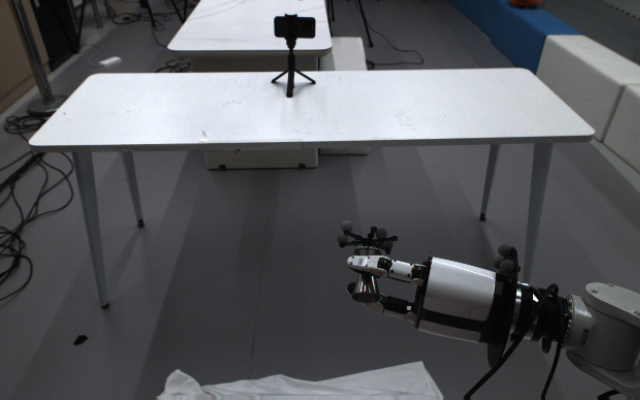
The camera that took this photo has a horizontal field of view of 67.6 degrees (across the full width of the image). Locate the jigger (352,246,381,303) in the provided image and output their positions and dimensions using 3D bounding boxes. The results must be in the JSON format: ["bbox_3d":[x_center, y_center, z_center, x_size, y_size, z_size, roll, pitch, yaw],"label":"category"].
[{"bbox_3d":[0.064,0.101,0.676,0.043,0.043,0.071,4,60,3],"label":"jigger"}]
